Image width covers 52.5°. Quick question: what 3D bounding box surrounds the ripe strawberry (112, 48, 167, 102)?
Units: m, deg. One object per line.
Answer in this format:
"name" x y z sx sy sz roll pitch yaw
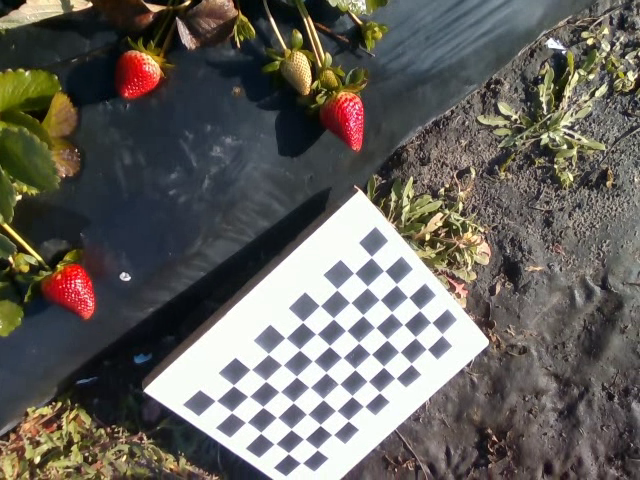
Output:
"ripe strawberry" -0.138 -0.122 0.488 0.035 0.047 0.035 46 -7 -29

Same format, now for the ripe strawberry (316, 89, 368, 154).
"ripe strawberry" 0.019 -0.094 0.528 0.042 0.059 0.042 -25 18 -13

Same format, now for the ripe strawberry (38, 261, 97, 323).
"ripe strawberry" -0.206 0.046 0.543 0.045 0.055 0.042 -38 -1 -6
